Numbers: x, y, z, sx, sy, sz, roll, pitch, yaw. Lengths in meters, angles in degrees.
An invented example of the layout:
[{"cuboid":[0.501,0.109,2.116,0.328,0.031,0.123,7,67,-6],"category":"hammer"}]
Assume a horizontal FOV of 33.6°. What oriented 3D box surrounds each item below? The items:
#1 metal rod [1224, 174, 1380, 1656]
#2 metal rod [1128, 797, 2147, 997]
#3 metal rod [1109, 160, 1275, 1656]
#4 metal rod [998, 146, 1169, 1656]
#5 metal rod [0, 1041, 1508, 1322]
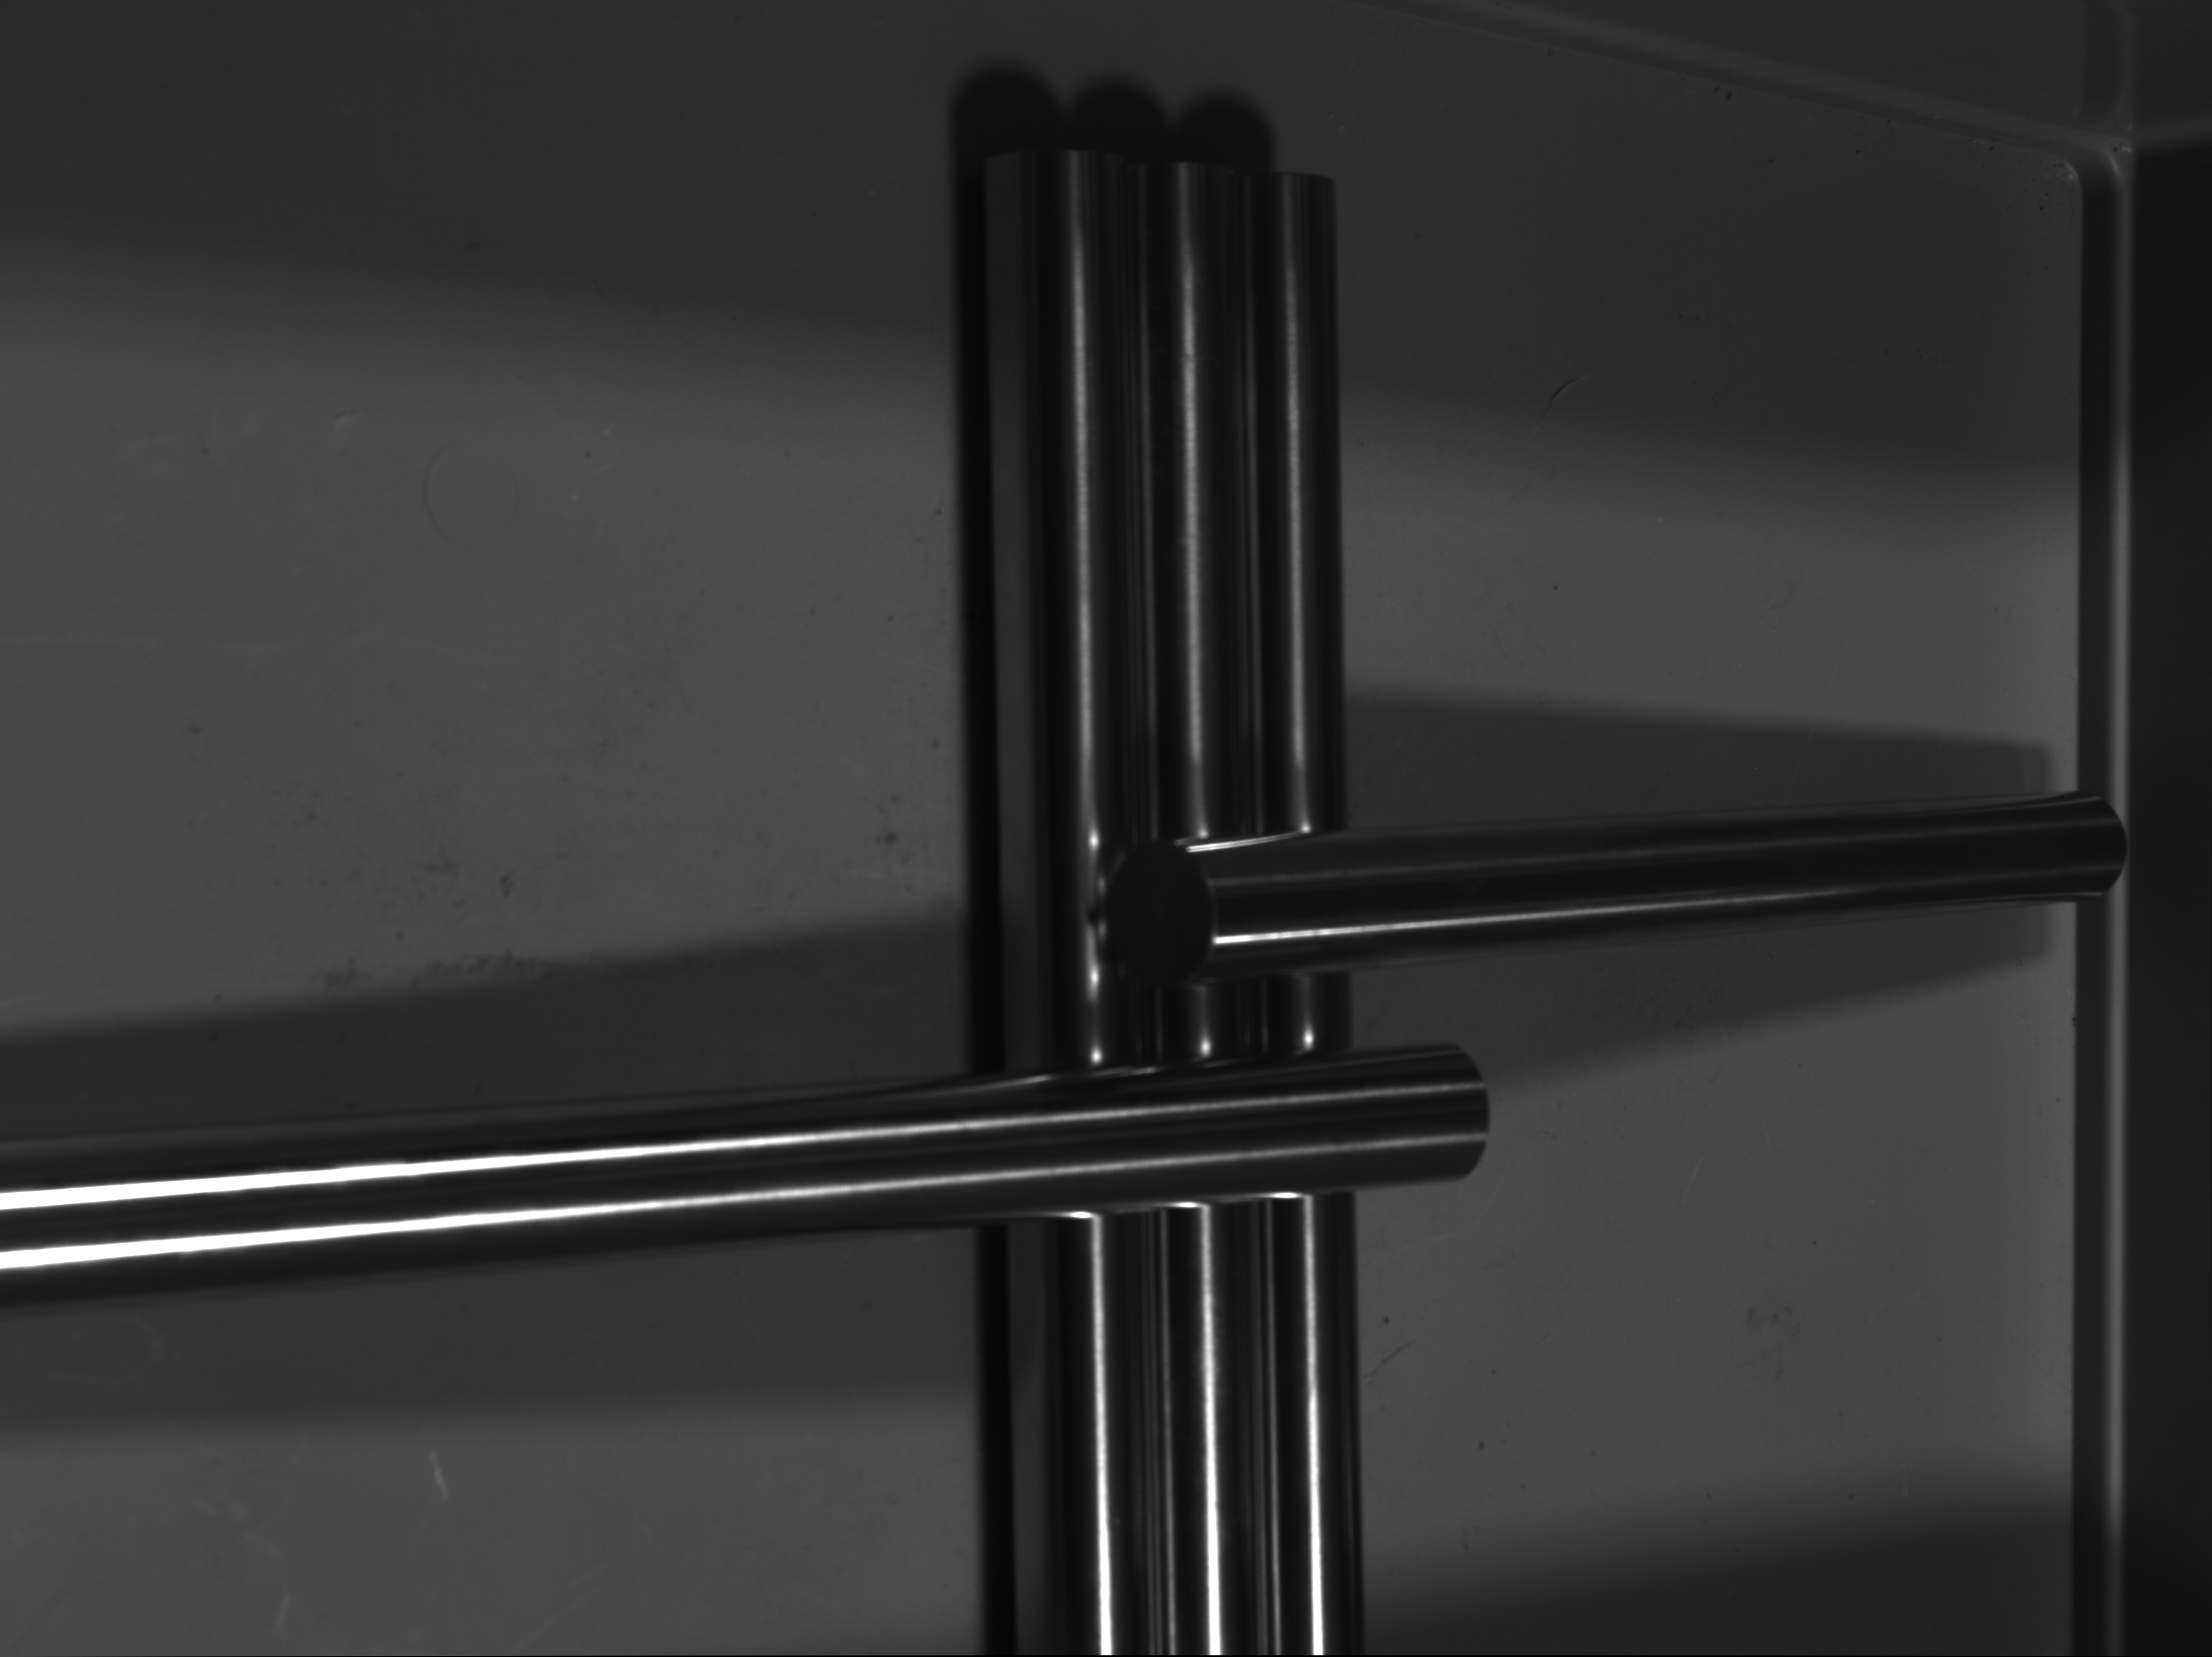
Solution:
[{"cuboid":[0.035,0.033,0.666,0.025,0.025,0.300,-2,91,-40],"category":"metal rod"},{"cuboid":[0.117,0.010,0.711,0.301,0.025,0.025,-3,92,-46],"category":"metal rod"},{"cuboid":[0.015,0.034,0.649,0.025,0.025,0.300,-2,91,-40],"category":"metal rod"},{"cuboid":[-0.003,0.035,0.633,0.025,0.025,0.300,-2,91,-40],"category":"metal rod"},{"cuboid":[-0.062,0.053,0.564,0.301,0.025,0.025,-1,91,-34],"category":"metal rod"}]
